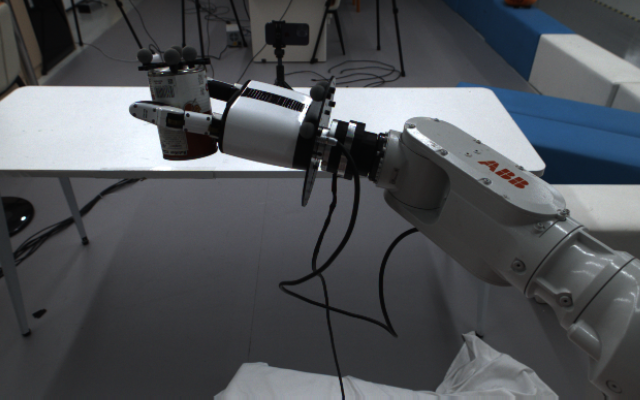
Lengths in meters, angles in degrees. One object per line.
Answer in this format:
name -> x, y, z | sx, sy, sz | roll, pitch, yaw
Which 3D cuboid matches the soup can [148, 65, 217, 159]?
soup can -> -0.162, -0.104, 0.579 | 0.067, 0.101, 0.067 | -4, 21, 1
